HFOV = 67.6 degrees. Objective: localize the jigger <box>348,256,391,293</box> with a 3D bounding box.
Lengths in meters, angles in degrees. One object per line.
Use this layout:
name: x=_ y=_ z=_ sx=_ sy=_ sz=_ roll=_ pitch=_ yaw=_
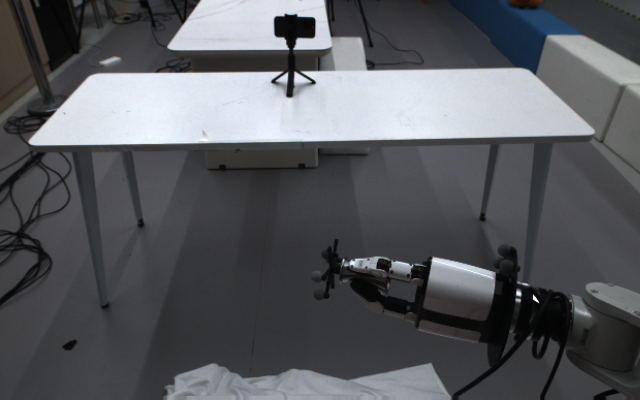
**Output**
jigger: x=0.072 y=0.100 z=0.685 sx=0.071 sy=0.043 sz=0.043 roll=8 pitch=35 yaw=14
